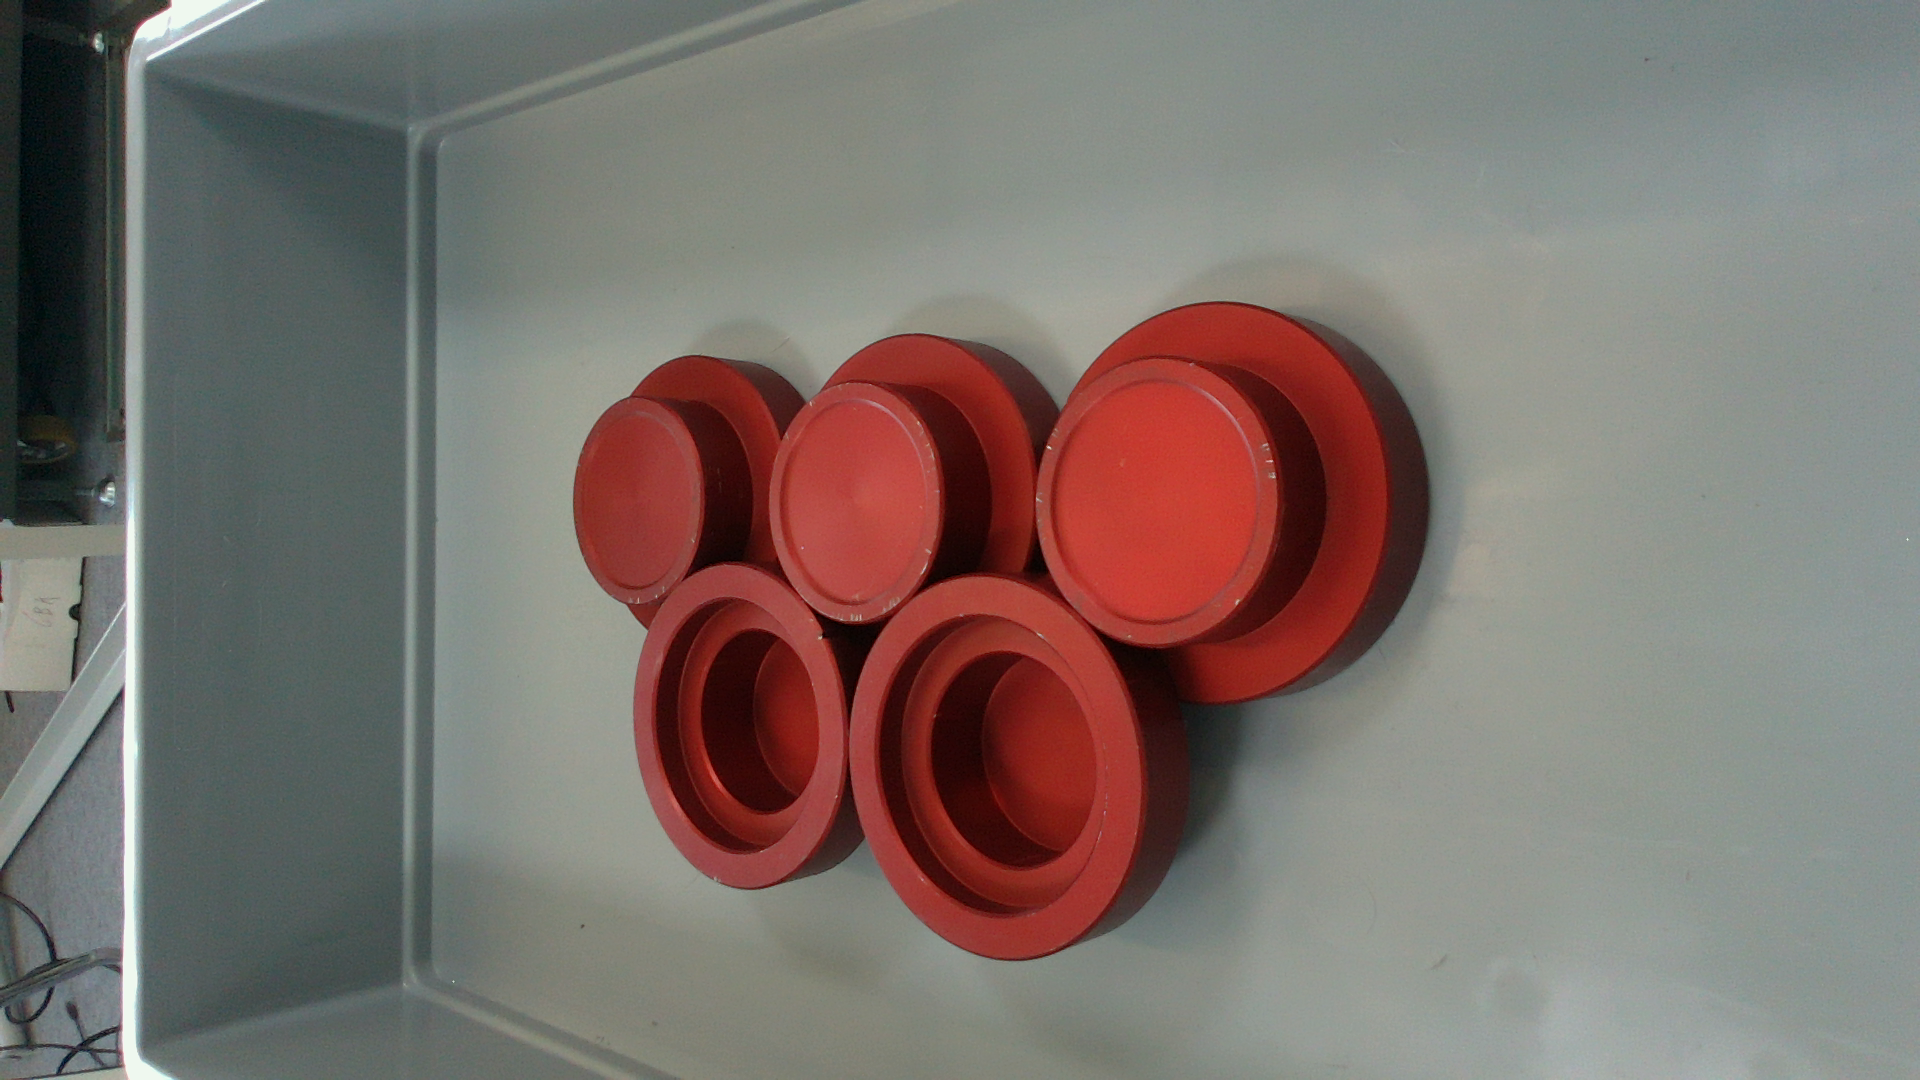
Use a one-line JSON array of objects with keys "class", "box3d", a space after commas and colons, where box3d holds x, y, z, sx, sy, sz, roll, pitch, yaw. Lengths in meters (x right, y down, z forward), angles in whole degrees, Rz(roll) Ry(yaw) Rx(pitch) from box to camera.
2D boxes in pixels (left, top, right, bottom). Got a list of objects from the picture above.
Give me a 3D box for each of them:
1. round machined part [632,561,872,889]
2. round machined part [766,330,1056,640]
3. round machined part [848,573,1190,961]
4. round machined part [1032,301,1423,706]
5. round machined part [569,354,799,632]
[{"class": "round machined part", "box3d": [-0.056, 0.055, 0.429, 0.098, 0.042, 0.098, 0, 90, 40]}, {"class": "round machined part", "box3d": [-0.018, -0.012, 0.397, 0.098, 0.042, 0.098, -1, 89, 41]}, {"class": "round machined part", "box3d": [0.019, 0.057, 0.366, 0.098, 0.042, 0.098, 0, 90, 40]}, {"class": "round machined part", "box3d": [0.057, -0.009, 0.333, 0.098, 0.042, 0.098, -1, 89, 41]}, {"class": "round machined part", "box3d": [-0.093, -0.013, 0.459, 0.098, 0.042, 0.098, -1, 88, 39]}]
